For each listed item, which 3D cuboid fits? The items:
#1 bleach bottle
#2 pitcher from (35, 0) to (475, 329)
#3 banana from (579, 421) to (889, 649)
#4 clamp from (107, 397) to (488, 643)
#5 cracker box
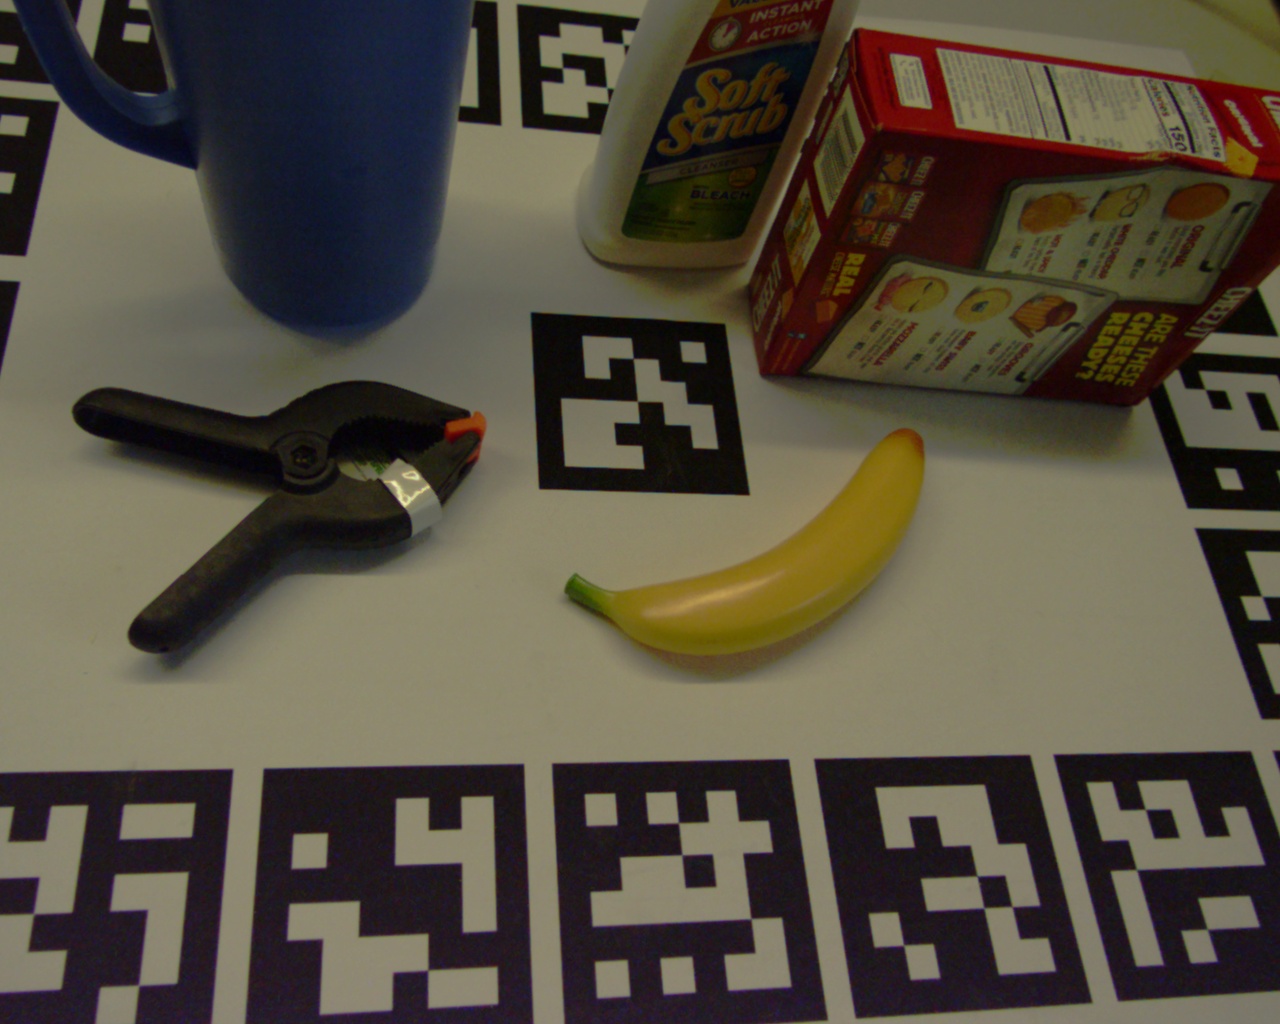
[{"bbox_3d":[0.027,-0.213,0.558,0.102,0.251,0.068,1,60,-12],"label":"bleach bottle"},{"bbox_3d":[-0.148,-0.189,0.484,0.187,0.243,0.134,-16,65,-24],"label":"pitcher"},{"bbox_3d":[0.066,0.015,0.566,0.196,0.039,0.075,-33,71,-26],"label":"banana"},{"bbox_3d":[-0.149,-0.013,0.527,0.163,0.036,0.123,-14,63,-21],"label":"clamp"},{"bbox_3d":[0.179,-0.132,0.576,0.212,0.164,0.072,2,58,-10],"label":"cracker box"}]
